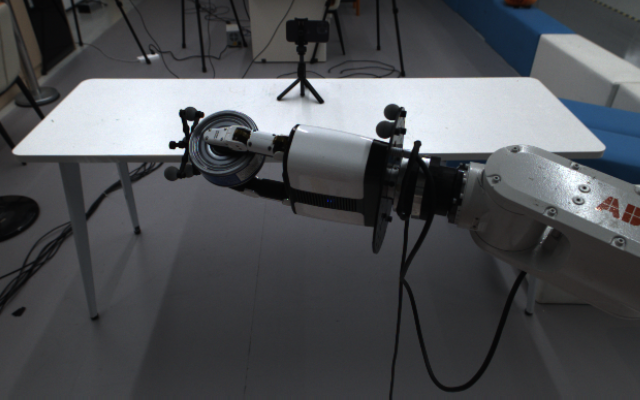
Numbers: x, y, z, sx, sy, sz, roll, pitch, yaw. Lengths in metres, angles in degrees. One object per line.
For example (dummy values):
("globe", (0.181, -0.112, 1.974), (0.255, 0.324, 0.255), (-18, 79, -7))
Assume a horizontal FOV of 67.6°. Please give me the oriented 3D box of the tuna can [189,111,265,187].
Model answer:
("tuna can", (-0.106, -0.062, 0.565), (0.085, 0.034, 0.085), (-3, 69, 7))
